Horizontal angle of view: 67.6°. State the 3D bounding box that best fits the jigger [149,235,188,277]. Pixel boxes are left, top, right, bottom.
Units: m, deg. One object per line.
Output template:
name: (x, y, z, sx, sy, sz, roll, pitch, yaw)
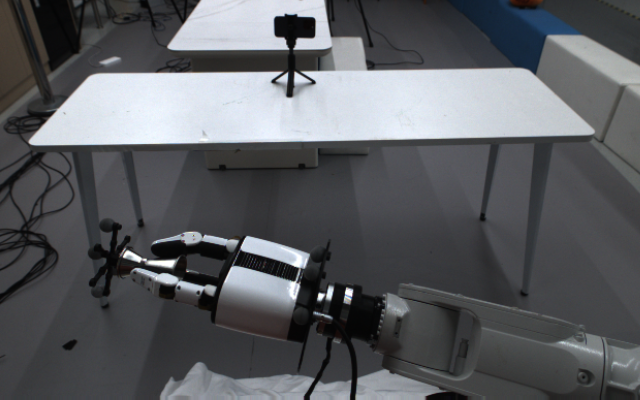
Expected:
jigger: (-0.192, 0.079, 0.577, 0.071, 0.043, 0.043, 10, 35, 3)
